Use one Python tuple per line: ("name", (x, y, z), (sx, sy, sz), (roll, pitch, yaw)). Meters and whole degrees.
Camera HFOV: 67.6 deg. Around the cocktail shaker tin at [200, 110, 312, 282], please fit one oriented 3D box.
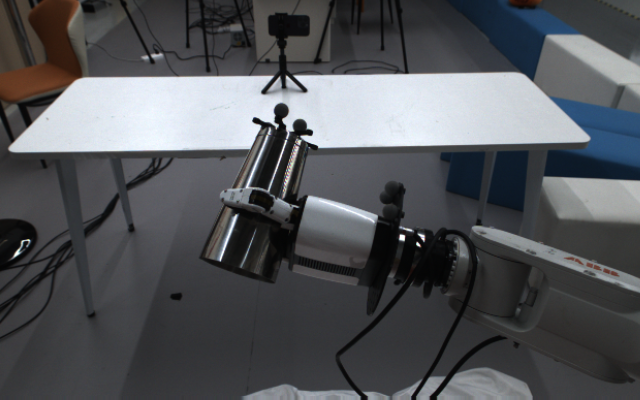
("cocktail shaker tin", (-0.071, 0.004, 0.576), (0.093, 0.093, 0.170), (14, 74, 17))
